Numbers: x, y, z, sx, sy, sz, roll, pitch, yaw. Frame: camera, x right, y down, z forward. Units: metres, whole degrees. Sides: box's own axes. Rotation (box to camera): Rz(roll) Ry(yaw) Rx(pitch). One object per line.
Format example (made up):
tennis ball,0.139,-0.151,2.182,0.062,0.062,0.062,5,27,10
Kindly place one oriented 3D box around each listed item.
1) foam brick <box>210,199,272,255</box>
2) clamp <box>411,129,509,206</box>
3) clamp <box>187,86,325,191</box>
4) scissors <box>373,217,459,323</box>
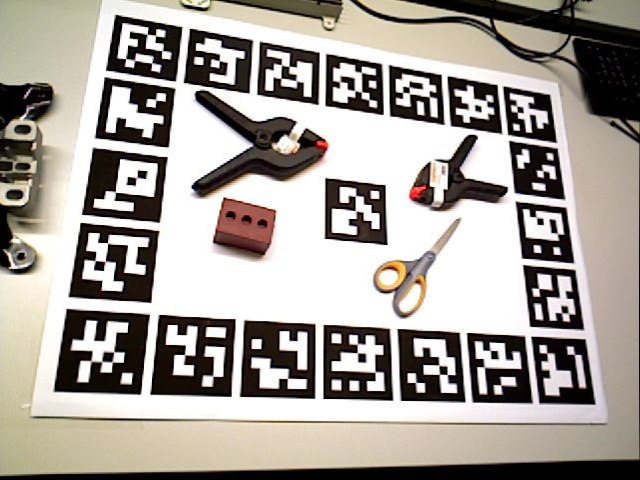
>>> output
foam brick,-0.109,-0.018,0.750,0.077,0.052,0.052,12,71,-7
clamp,0.218,-0.103,0.875,0.162,0.037,0.122,-23,88,-20
clamp,-0.093,-0.144,0.798,0.200,0.037,0.164,2,70,-16
scissors,0.156,0.030,0.821,0.088,0.016,0.199,45,66,-7
